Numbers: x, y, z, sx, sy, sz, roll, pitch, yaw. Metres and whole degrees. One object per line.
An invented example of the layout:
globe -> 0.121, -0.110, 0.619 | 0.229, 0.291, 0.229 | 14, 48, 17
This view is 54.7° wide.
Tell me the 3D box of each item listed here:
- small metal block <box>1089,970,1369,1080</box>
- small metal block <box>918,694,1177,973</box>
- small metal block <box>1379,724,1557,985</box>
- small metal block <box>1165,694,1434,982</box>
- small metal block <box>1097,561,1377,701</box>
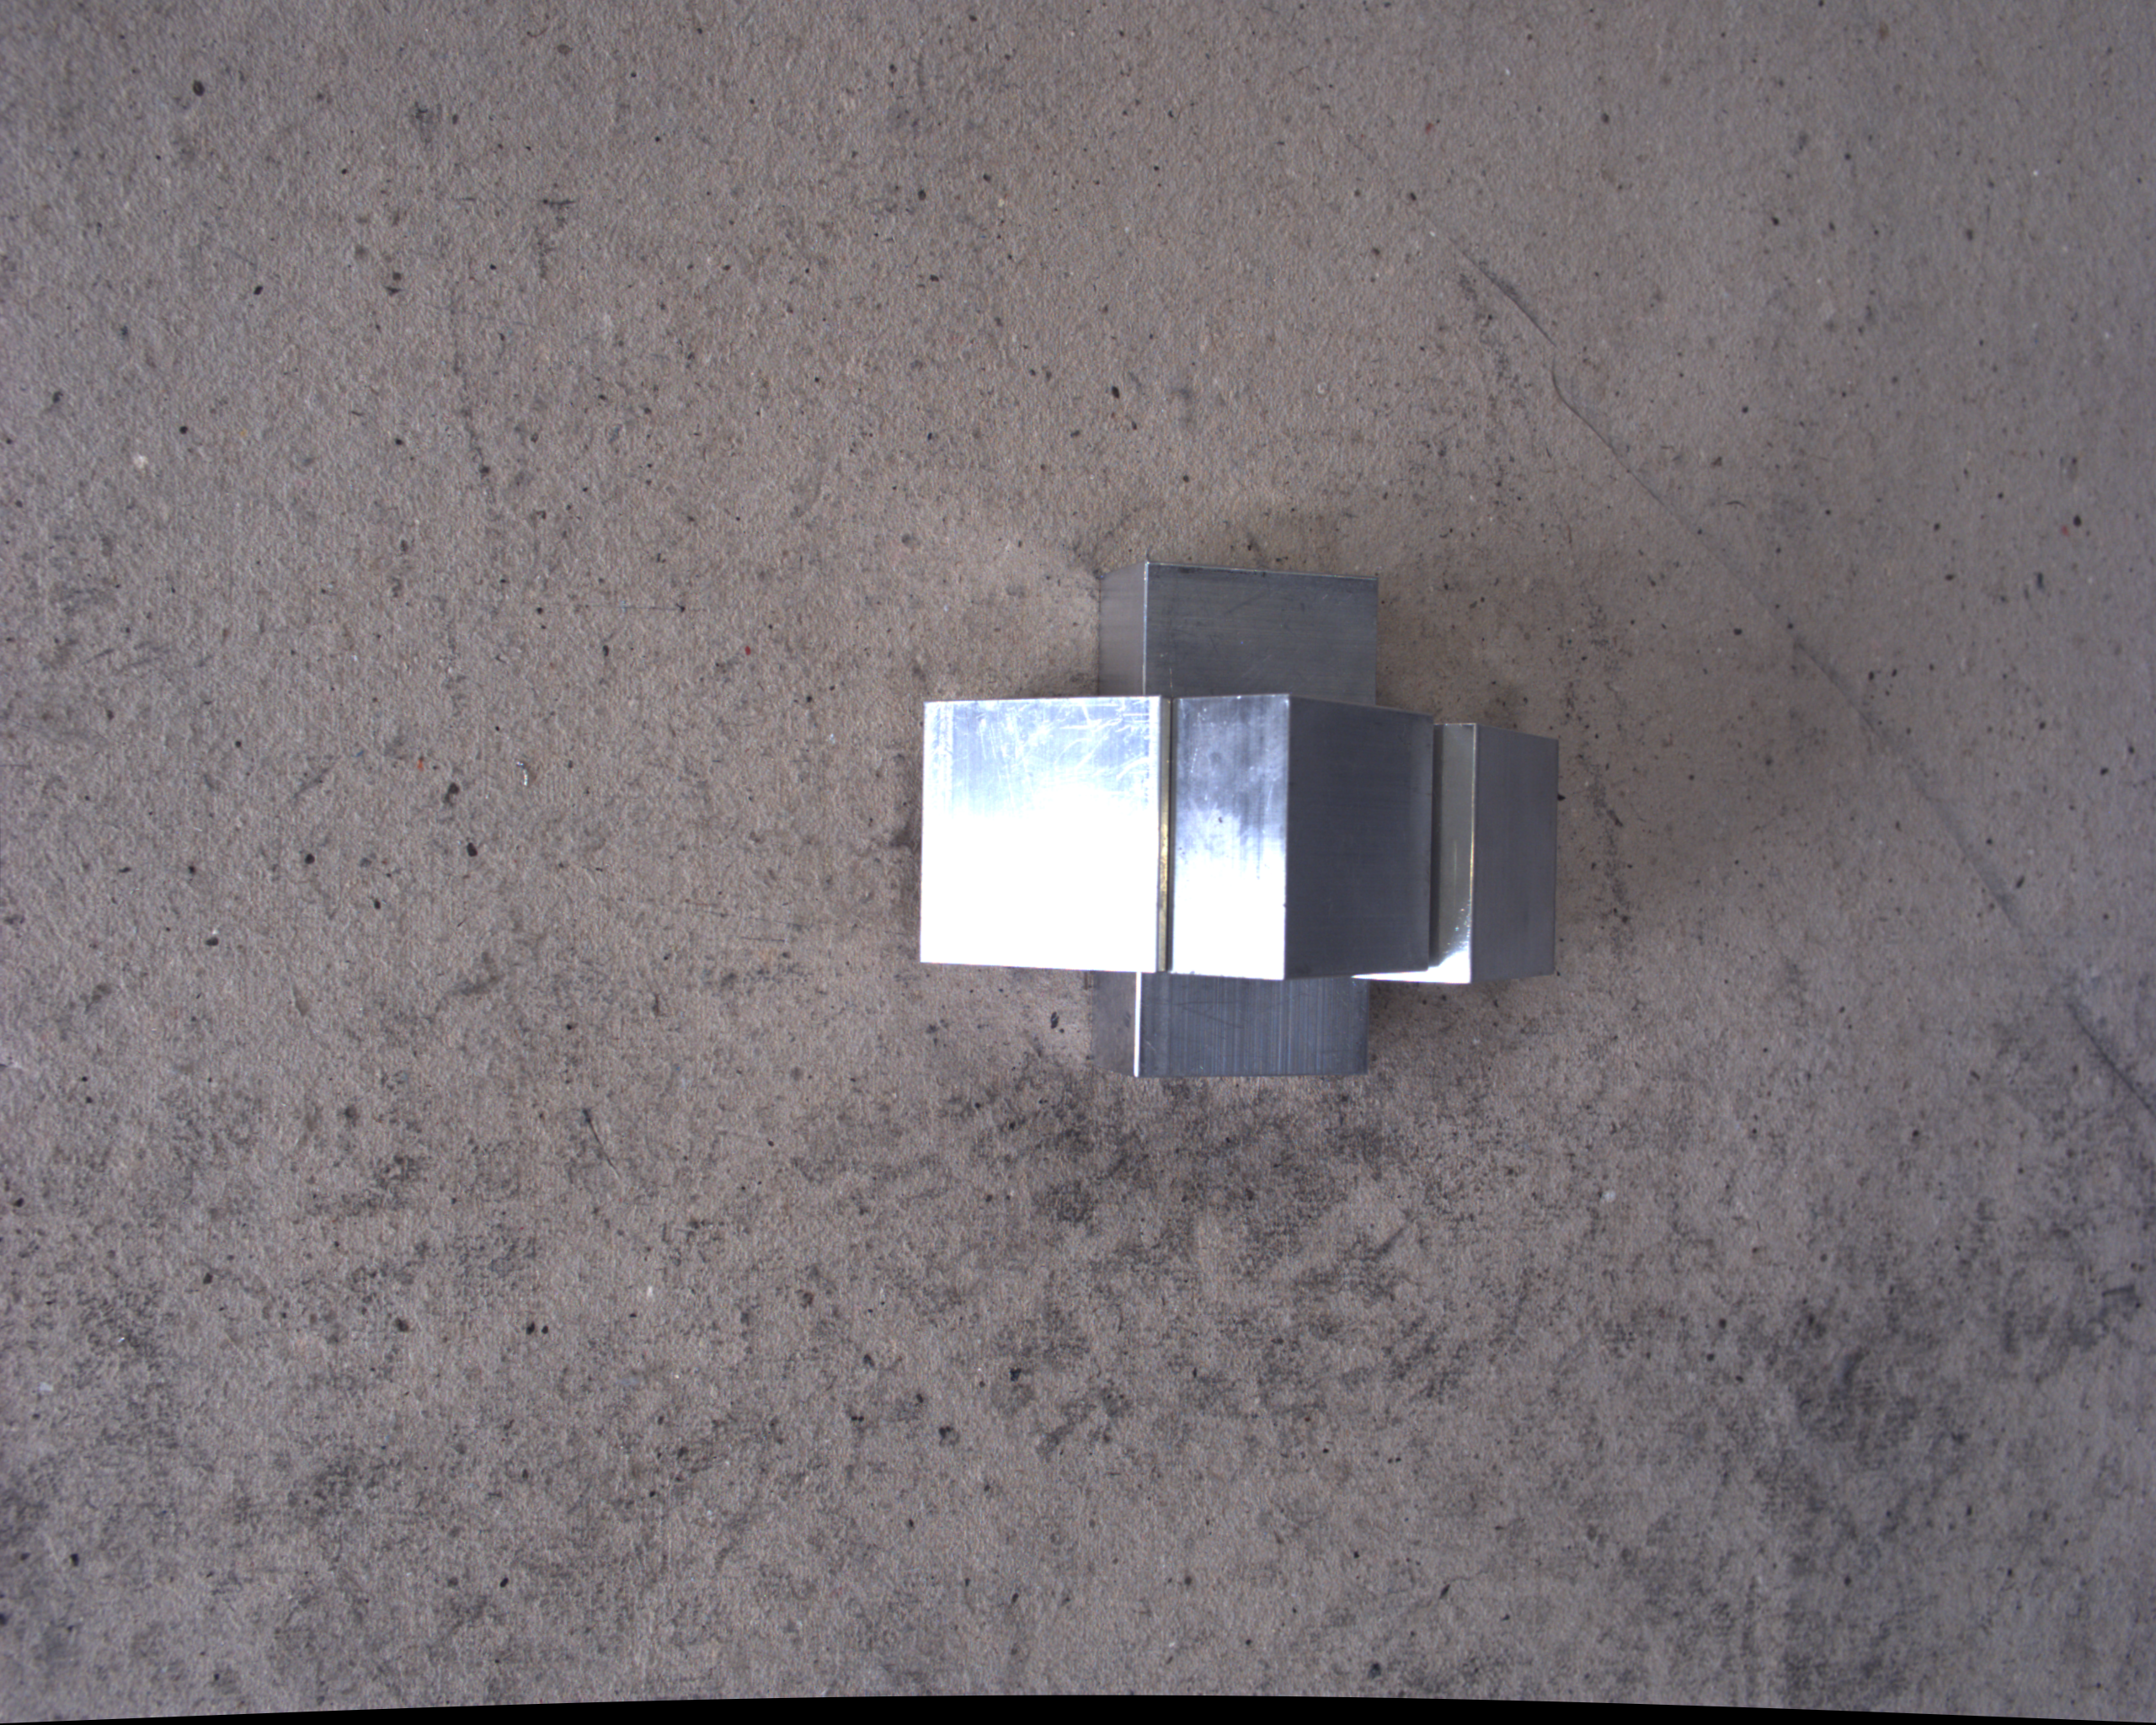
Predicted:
small metal block -> 0.031, 0.017, 0.421 | 0.050, 0.025, 0.050 | 1, 90, -20
small metal block -> -0.002, -0.006, 0.395 | 0.025, 0.050, 0.050 | 1, 90, -62
small metal block -> 0.077, -0.002, 0.425 | 0.050, 0.025, 0.050 | 1, 90, -60
small metal block -> 0.042, -0.004, 0.387 | 0.050, 0.025, 0.050 | 1, 90, -51
small metal block -> 0.032, -0.033, 0.422 | 0.050, 0.025, 0.050 | 1, 90, -20
